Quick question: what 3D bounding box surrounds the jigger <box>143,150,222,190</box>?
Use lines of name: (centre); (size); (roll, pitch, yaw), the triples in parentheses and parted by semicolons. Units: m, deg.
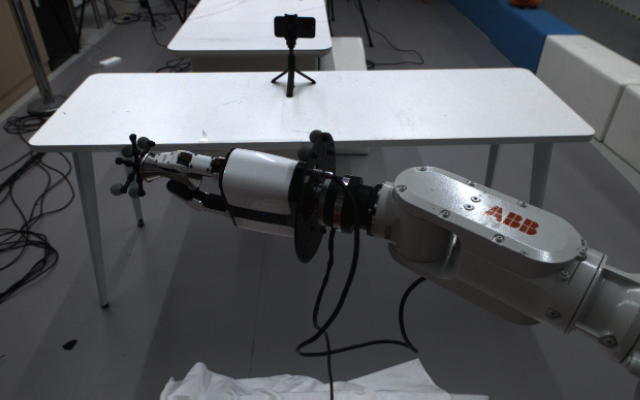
jigger: (-0.188, -0.042, 0.633); (0.071, 0.043, 0.043); (7, 35, 13)
